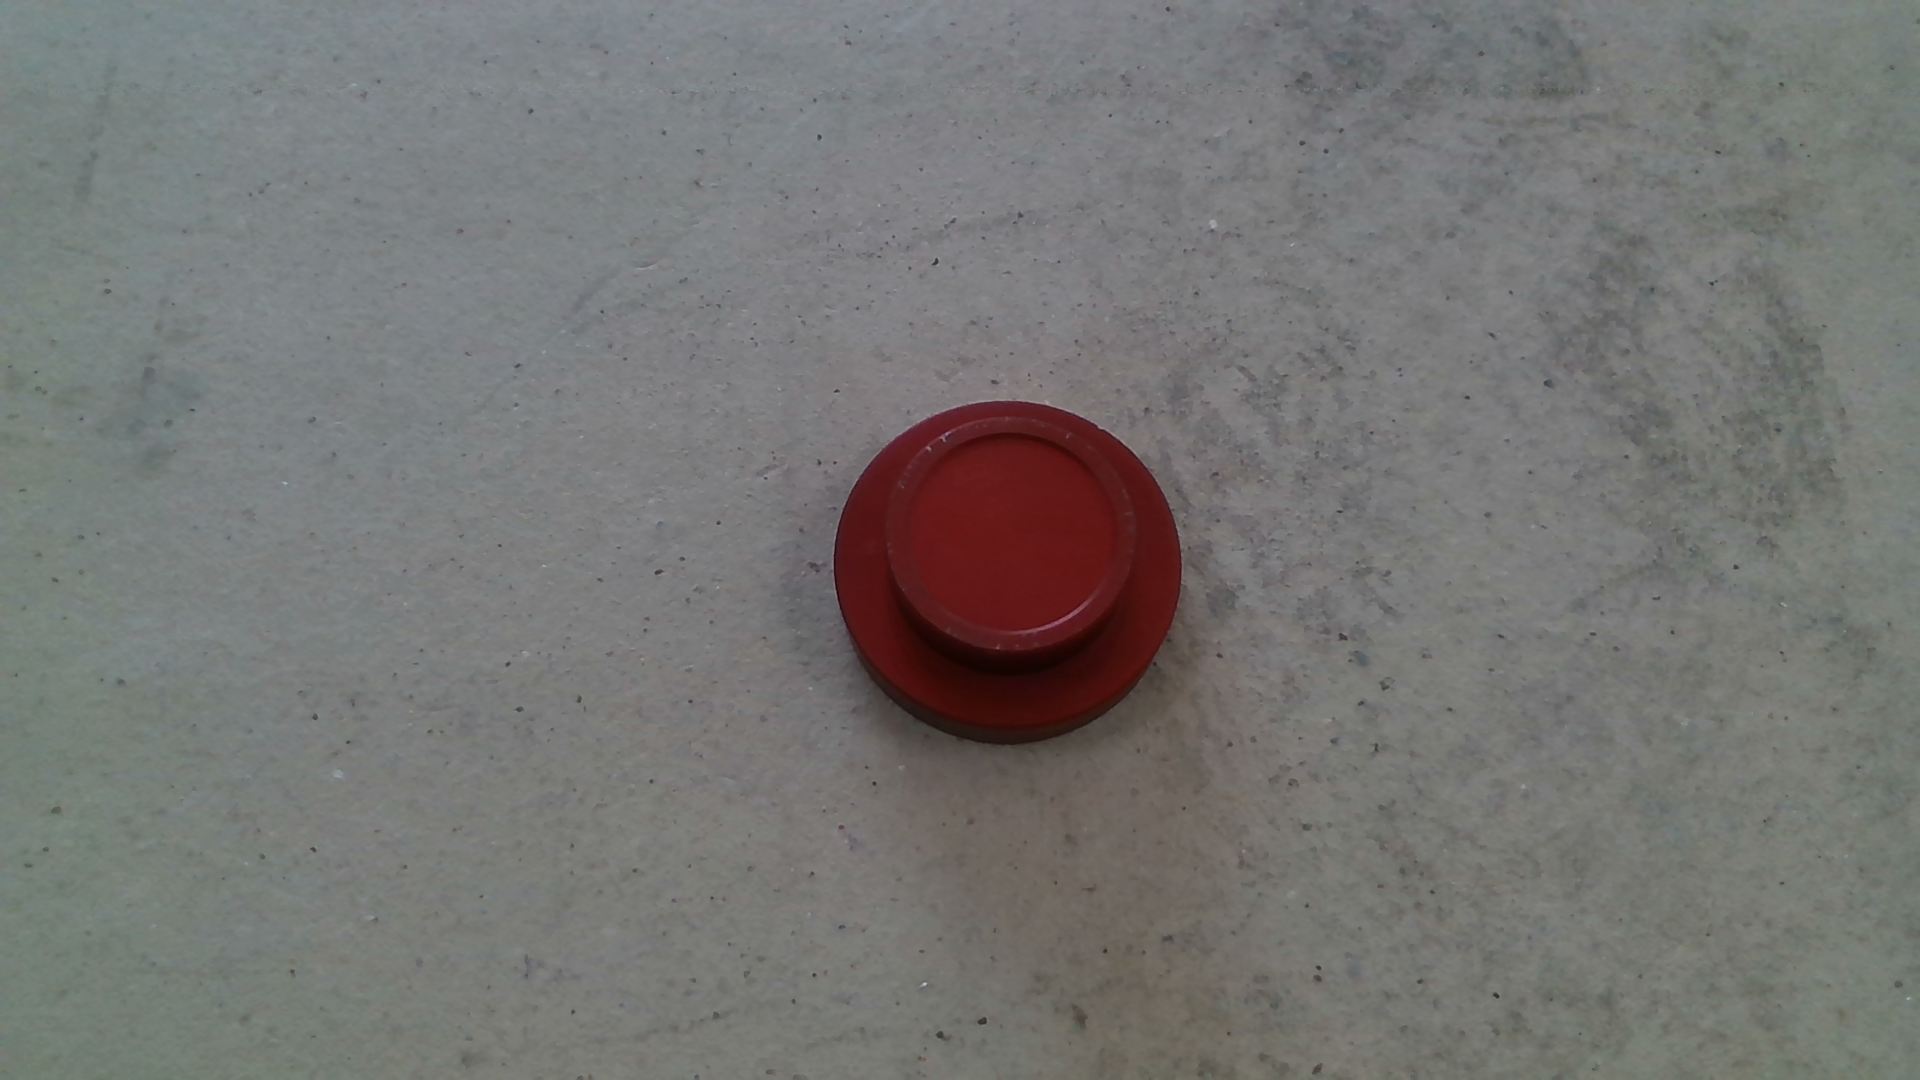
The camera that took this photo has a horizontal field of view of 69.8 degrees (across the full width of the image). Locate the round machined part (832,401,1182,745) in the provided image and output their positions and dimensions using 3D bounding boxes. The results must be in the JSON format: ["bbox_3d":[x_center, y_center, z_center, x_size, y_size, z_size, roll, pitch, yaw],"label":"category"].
[{"bbox_3d":[0.013,0.005,0.385,0.098,0.042,0.098,0,70,0],"label":"round machined part"}]
